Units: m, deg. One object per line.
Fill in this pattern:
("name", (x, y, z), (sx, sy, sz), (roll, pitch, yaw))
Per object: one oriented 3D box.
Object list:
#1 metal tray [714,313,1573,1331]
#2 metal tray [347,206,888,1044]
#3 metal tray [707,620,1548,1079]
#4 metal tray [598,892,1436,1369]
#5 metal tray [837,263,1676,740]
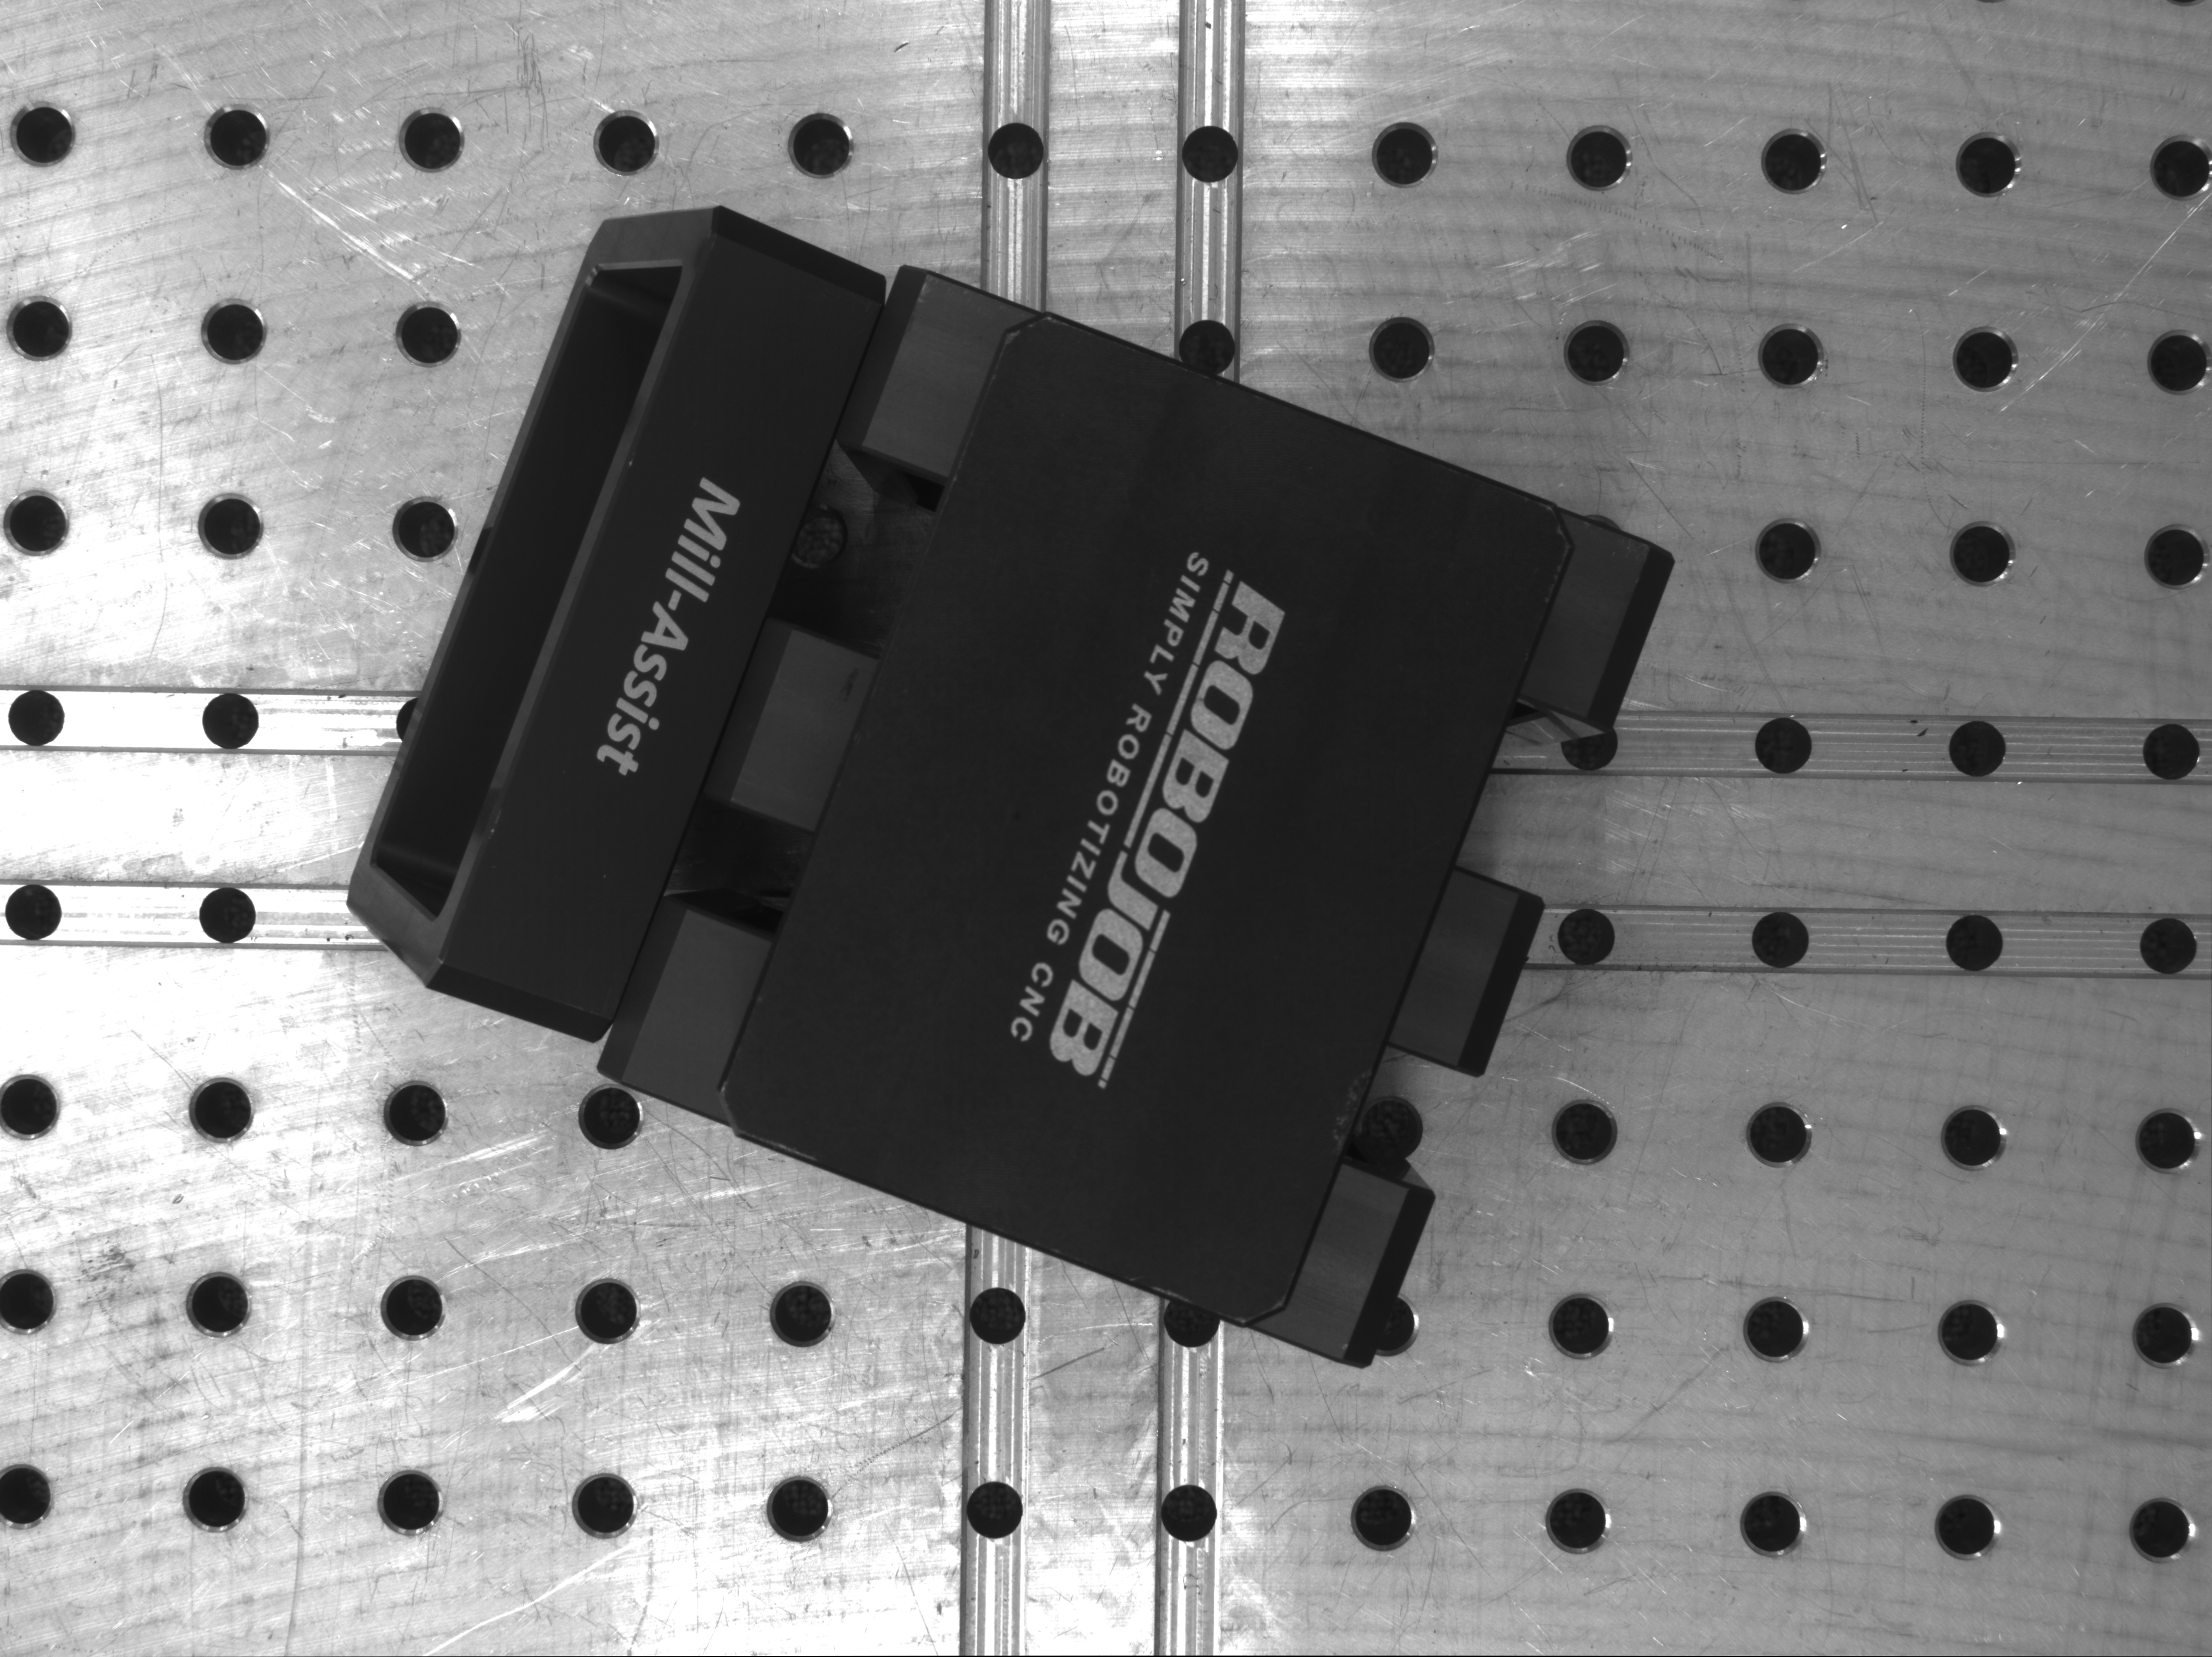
("metal tray", (0.006, -0.001, 0.555), (0.090, 0.030, 0.130), (21, 90, 0))
("metal tray", (-0.084, -0.036, 0.613), (0.030, 0.090, 0.130), (21, 90, -22))
("metal tray", (0.003, 0.004, 0.615), (0.130, 0.090, 0.030), (20, 89, -1))
("metal tray", (-0.014, 0.047, 0.615), (0.130, 0.090, 0.030), (21, 90, 0))
("metal tray", (0.024, -0.052, 0.615), (0.130, 0.090, 0.030), (21, 90, 1))
